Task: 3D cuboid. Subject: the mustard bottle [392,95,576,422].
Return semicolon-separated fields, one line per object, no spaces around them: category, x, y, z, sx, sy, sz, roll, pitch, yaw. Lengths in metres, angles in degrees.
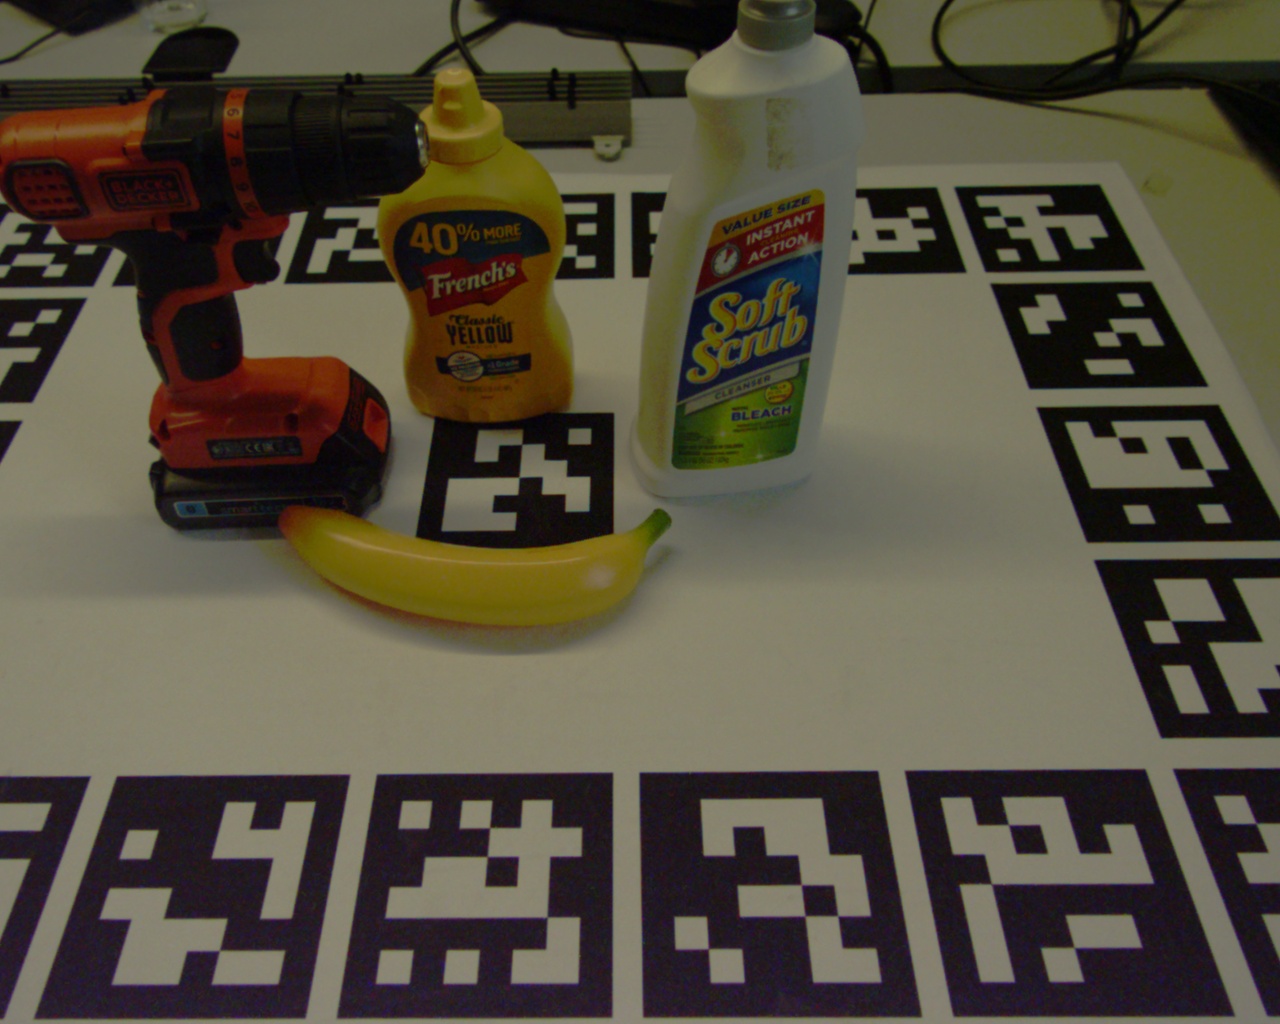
mustard bottle;-0.084;-0.135;0.623;0.096;0.191;0.058;1;48;-1

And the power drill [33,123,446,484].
power drill;-0.185;-0.101;0.570;0.184;0.186;0.057;-1;41;-4

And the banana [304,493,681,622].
banana;-0.078;0.021;0.583;0.198;0.038;0.074;1;52;4

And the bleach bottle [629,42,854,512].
bleach bottle;0.046;-0.107;0.567;0.102;0.250;0.068;-6;50;-6
